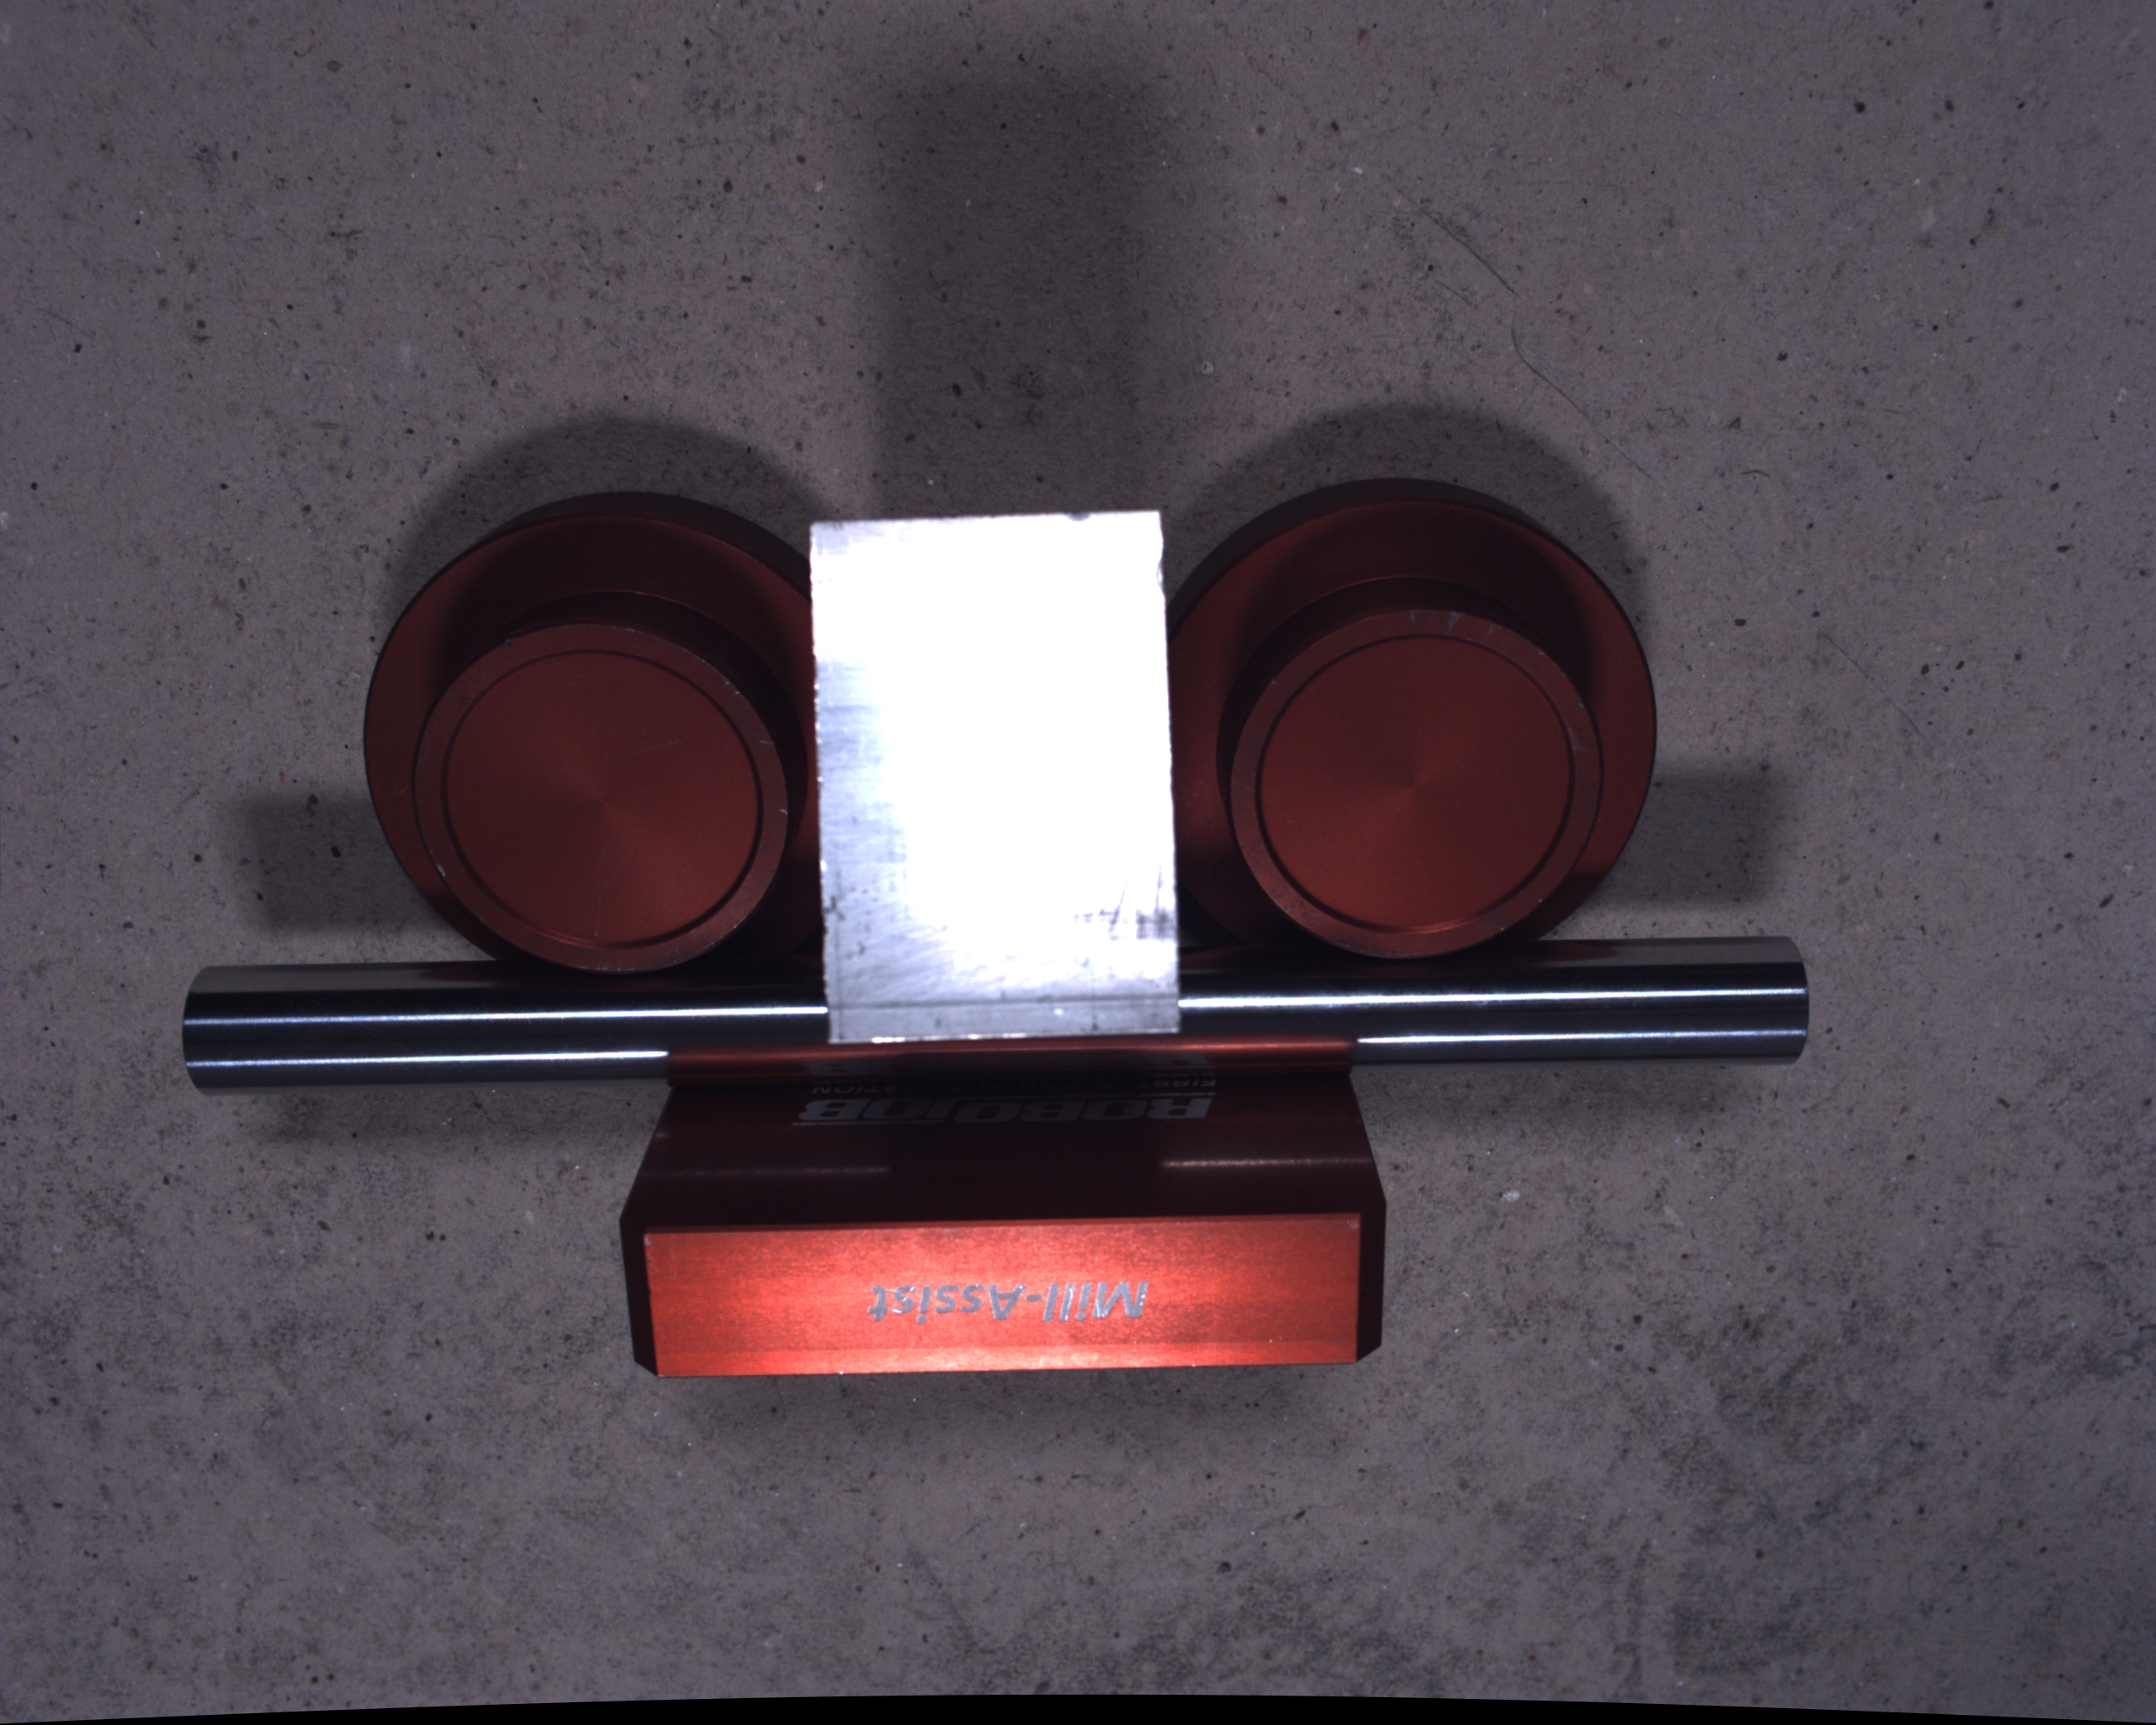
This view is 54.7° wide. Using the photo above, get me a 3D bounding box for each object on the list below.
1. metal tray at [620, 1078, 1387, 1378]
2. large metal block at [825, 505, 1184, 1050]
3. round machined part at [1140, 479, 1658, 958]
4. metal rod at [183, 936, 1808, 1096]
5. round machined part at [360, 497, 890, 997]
[{"bbox_3d":[-0.013,0.059,0.398,0.131,0.090,0.030,-1,110,0],"label":"metal tray"},{"bbox_3d":[-0.011,-0.011,0.349,0.050,0.080,0.080,-2,87,0],"label":"large metal block"},{"bbox_3d":[0.061,-0.021,0.394,0.099,0.042,0.097,0,110,-1],"label":"round machined part"},{"bbox_3d":[-0.015,0.029,0.400,0.302,0.025,0.025,-1,110,0],"label":"metal rod"},{"bbox_3d":[-0.086,-0.017,0.392,0.099,0.042,0.097,0,110,-1],"label":"round machined part"}]
